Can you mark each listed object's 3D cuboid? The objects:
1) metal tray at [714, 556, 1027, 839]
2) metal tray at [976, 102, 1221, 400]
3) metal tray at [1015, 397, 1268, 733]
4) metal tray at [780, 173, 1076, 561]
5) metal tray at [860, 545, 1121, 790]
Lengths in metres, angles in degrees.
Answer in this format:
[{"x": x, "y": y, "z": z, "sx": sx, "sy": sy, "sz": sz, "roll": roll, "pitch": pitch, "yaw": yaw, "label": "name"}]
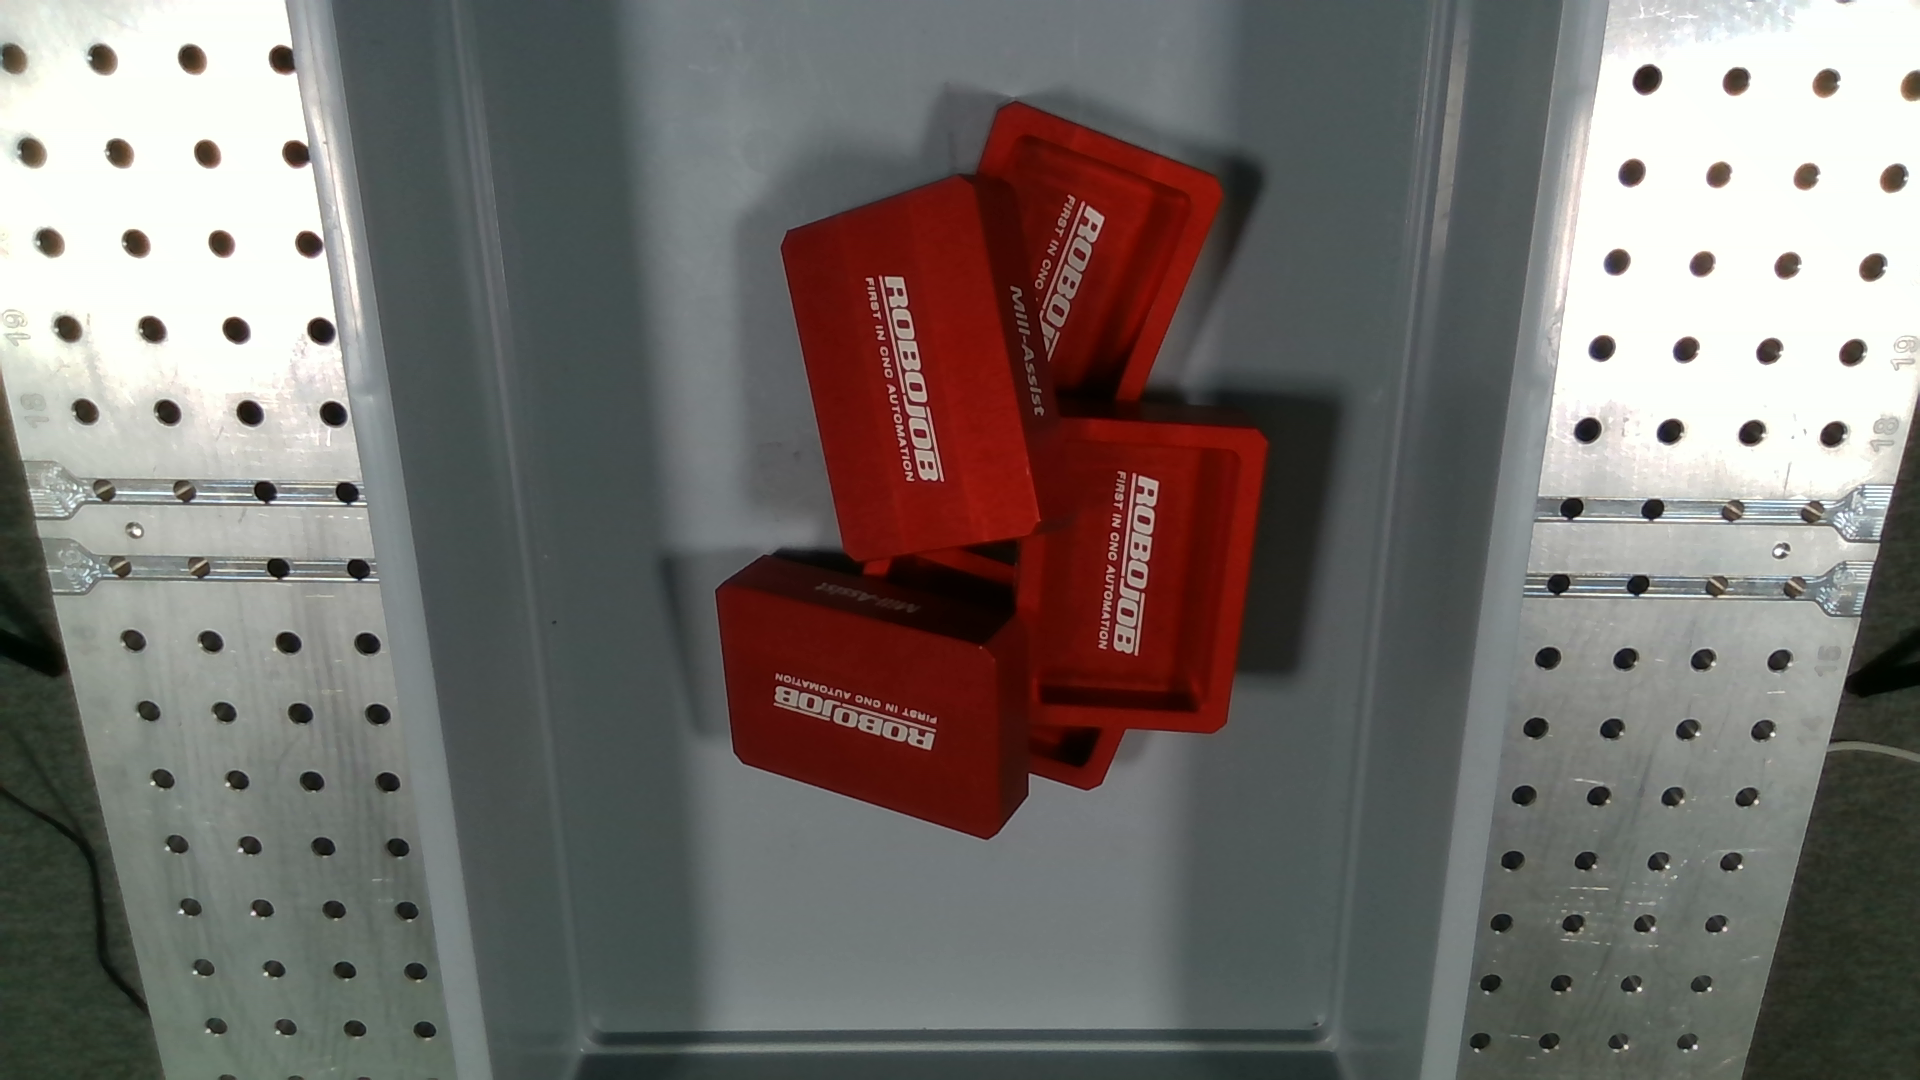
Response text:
[{"x": -0.037, "y": 0.063, "z": 0.570, "sx": 0.130, "sy": 0.030, "sz": 0.090, "roll": 12, "pitch": 119, "yaw": 26, "label": "metal tray"}, {"x": 0.036, "y": -0.095, "z": 0.544, "sx": 0.090, "sy": 0.030, "sz": 0.130, "roll": 18, "pitch": 109, "yaw": -7, "label": "metal tray"}, {"x": 0.068, "y": 0.011, "z": 0.552, "sx": 0.090, "sy": 0.030, "sz": 0.130, "roll": 3, "pitch": 110, "yaw": -1, "label": "metal tray"}, {"x": -0.013, "y": -0.063, "z": 0.521, "sx": 0.090, "sy": 0.030, "sz": 0.130, "roll": -8, "pitch": 95, "yaw": 34, "label": "metal tray"}, {"x": 0.014, "y": 0.047, "z": 0.598, "sx": 0.130, "sy": 0.030, "sz": 0.090, "roll": 18, "pitch": 109, "yaw": -7, "label": "metal tray"}]
